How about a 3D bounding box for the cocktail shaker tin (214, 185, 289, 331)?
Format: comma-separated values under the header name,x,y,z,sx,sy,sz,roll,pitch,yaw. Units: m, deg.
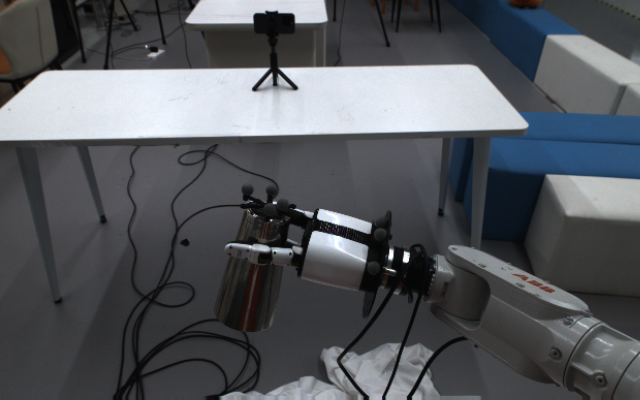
name,x,y,z,sx,sy,sz,roll,pitch,yaw
cocktail shaker tin,-0.092,0.092,0.707,0.093,0.170,0.093,14,19,-5
